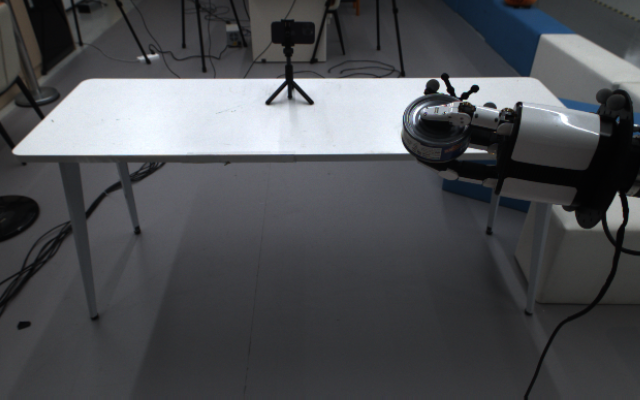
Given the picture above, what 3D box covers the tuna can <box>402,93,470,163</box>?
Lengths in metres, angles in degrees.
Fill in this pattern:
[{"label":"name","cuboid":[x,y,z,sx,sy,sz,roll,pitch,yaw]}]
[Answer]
[{"label":"tuna can","cuboid":[0.146,-0.092,0.599,0.085,0.034,0.085,-4,58,6]}]
